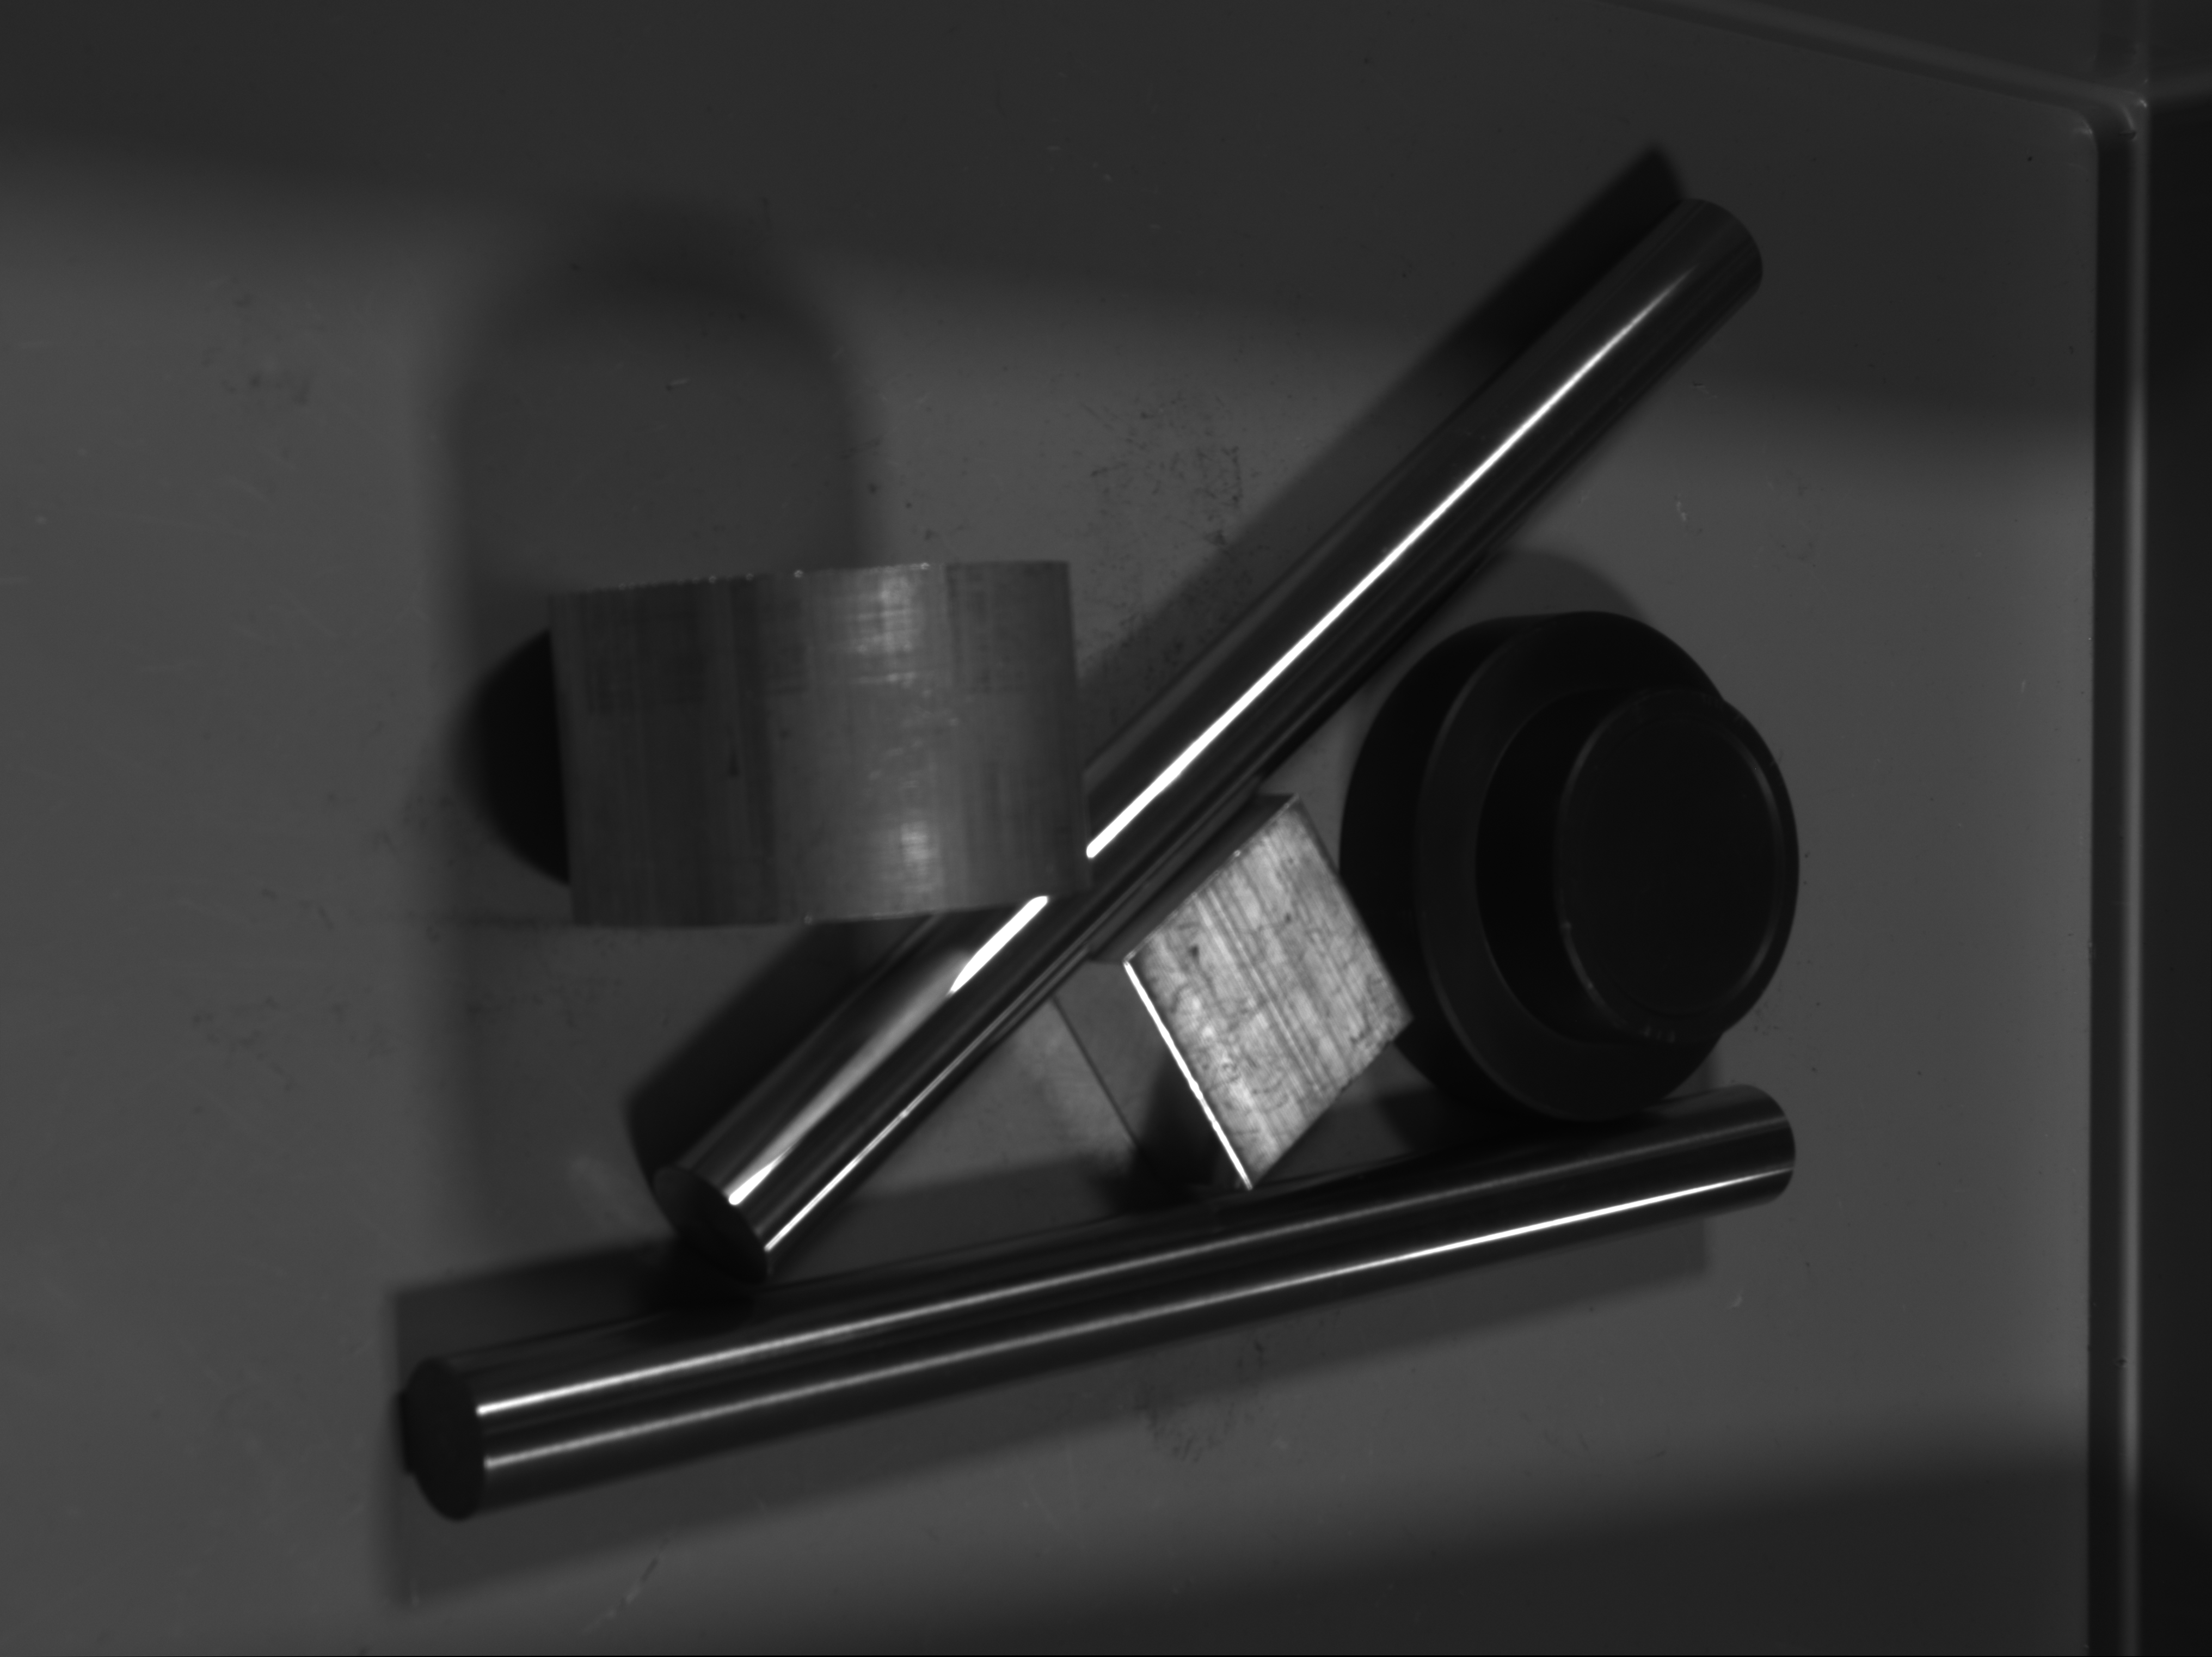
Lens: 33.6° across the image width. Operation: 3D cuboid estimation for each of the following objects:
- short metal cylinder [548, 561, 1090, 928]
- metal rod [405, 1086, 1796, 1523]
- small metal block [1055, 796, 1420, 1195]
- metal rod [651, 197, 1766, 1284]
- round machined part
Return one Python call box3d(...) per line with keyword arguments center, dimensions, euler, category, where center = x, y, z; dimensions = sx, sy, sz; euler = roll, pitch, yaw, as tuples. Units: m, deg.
box3d(center=(-0.044, -0.014, 0.565), dimensions=(0.080, 0.080, 0.050), euler=(-6, 94, -40), category="short metal cylinder")
box3d(center=(0.015, 0.079, 0.649), dimensions=(0.301, 0.025, 0.025), euler=(-7, 94, -40), category="metal rod")
box3d(center=(0.022, 0.029, 0.654), dimensions=(0.050, 0.025, 0.050), euler=(-43, 116, -31), category="small metal block")
box3d(center=(0.029, -0.027, 0.660), dimensions=(0.300, 0.025, 0.025), euler=(-44, 116, -31), category="metal rod")
box3d(center=(0.096, 0.008, 0.703), dimensions=(0.098, 0.042, 0.098), euler=(0, 90, -40), category="round machined part")
